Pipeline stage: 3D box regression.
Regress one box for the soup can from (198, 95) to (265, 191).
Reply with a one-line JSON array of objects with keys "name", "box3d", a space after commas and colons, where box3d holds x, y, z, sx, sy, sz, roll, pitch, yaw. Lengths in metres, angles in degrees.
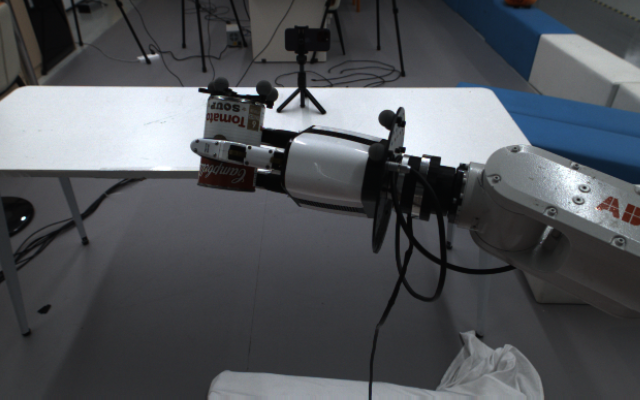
[{"name": "soup can", "box3d": [-0.101, -0.064, 0.562, 0.067, 0.101, 0.067, 7, 4, 0]}]
